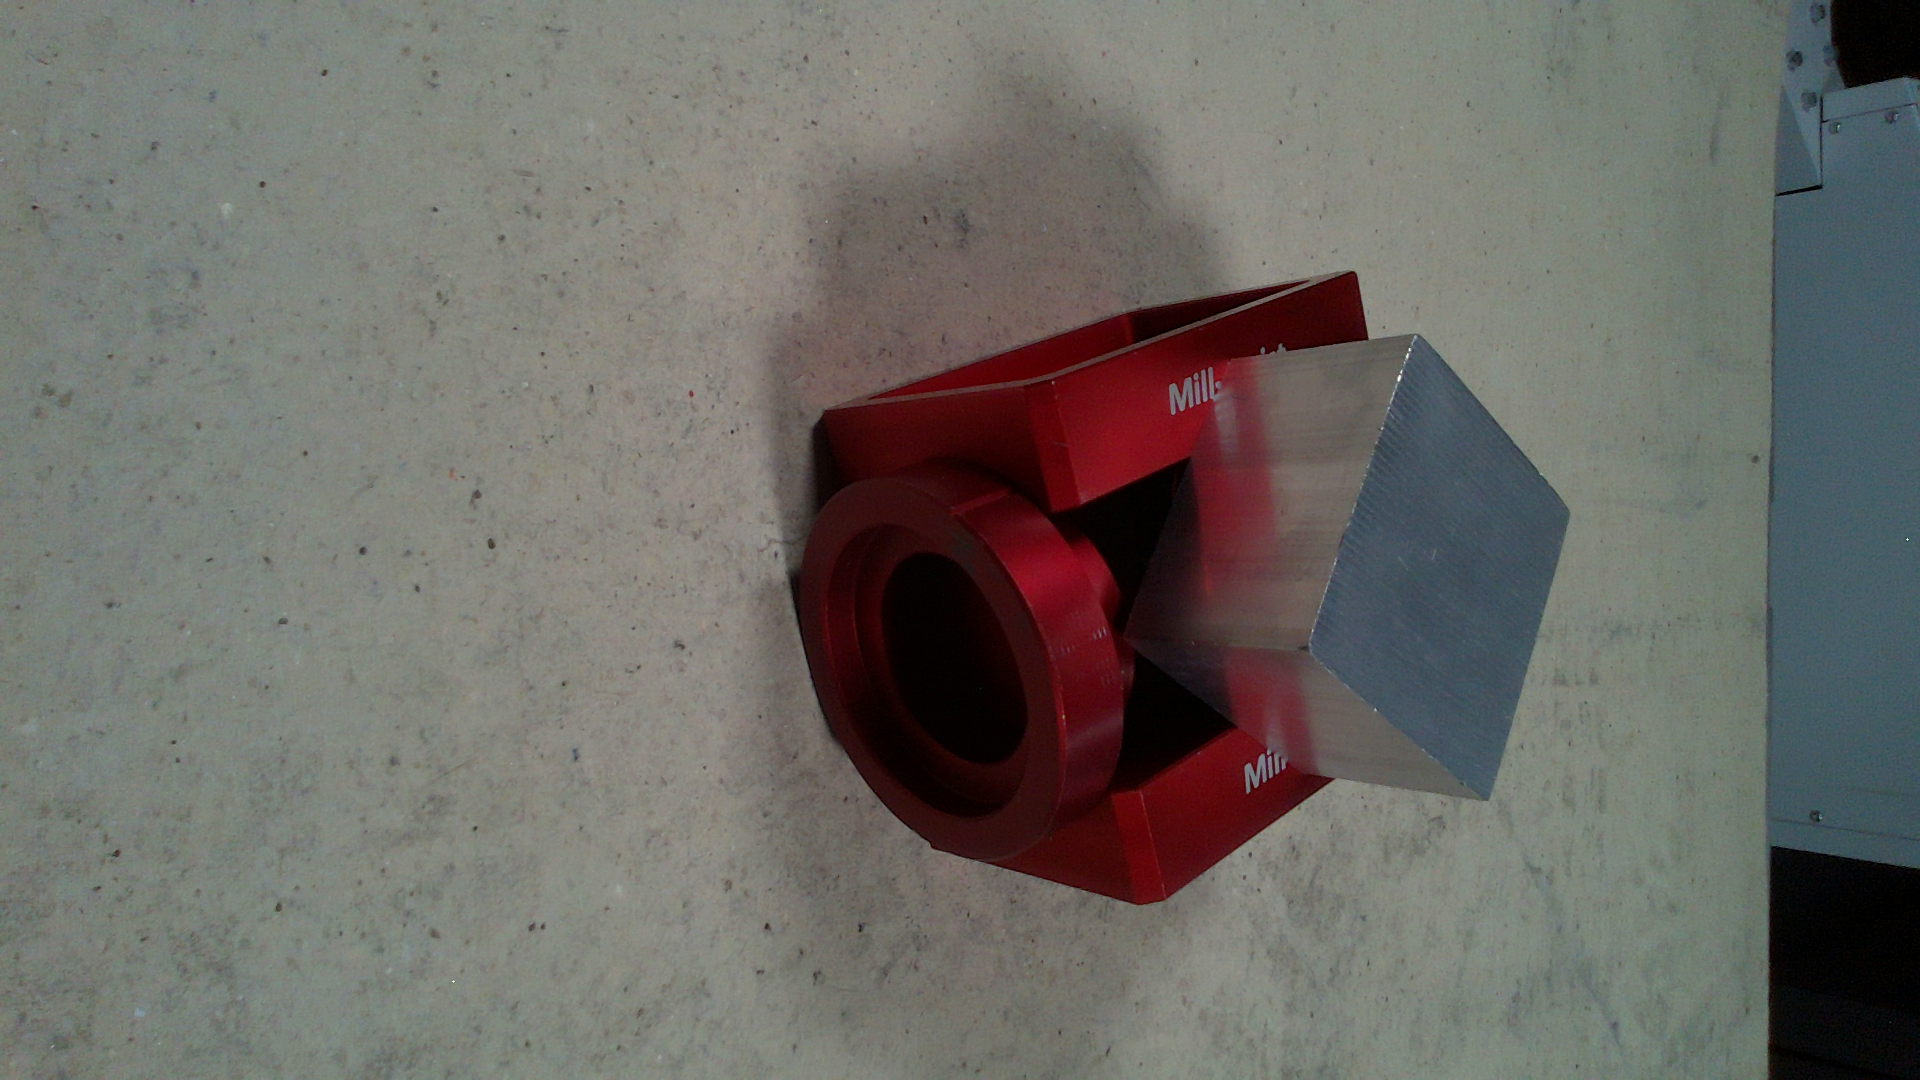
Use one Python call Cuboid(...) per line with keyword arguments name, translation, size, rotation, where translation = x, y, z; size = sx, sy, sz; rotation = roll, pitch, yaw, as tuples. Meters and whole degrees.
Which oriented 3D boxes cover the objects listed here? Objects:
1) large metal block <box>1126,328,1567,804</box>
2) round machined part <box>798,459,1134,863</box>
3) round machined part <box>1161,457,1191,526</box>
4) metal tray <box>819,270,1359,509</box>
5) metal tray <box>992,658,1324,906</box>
Cuboid(name="large metal block", translation=(0.096, 0.008, 0.333), size=(0.080, 0.050, 0.080), rotation=(36, 68, -34))
Cuboid(name="round machined part", translation=(0.005, 0.027, 0.345), size=(0.042, 0.098, 0.098), rotation=(-20, 103, -38))
Cuboid(name="round machined part", translation=(0.101, -0.013, 0.426), size=(0.042, 0.098, 0.098), rotation=(-20, 103, -38))
Cuboid(name="metal tray", translation=(0.039, -0.041, 0.380), size=(0.130, 0.090, 0.030), rotation=(-23, 105, -37))
Cuboid(name="metal tray", translation=(0.062, 0.054, 0.397), size=(0.131, 0.090, 0.030), rotation=(-22, 104, -38))
